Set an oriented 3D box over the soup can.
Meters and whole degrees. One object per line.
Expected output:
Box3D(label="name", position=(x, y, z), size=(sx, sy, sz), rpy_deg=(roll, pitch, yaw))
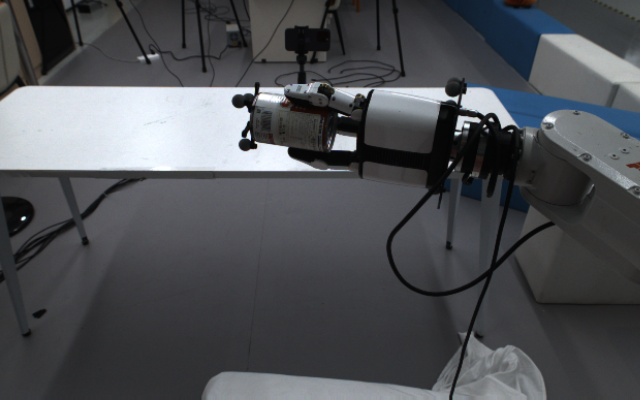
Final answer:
Box3D(label="soup can", position=(-0.031, -0.102, 0.632), size=(0.101, 0.067, 0.067), rpy_deg=(9, 35, 9))
